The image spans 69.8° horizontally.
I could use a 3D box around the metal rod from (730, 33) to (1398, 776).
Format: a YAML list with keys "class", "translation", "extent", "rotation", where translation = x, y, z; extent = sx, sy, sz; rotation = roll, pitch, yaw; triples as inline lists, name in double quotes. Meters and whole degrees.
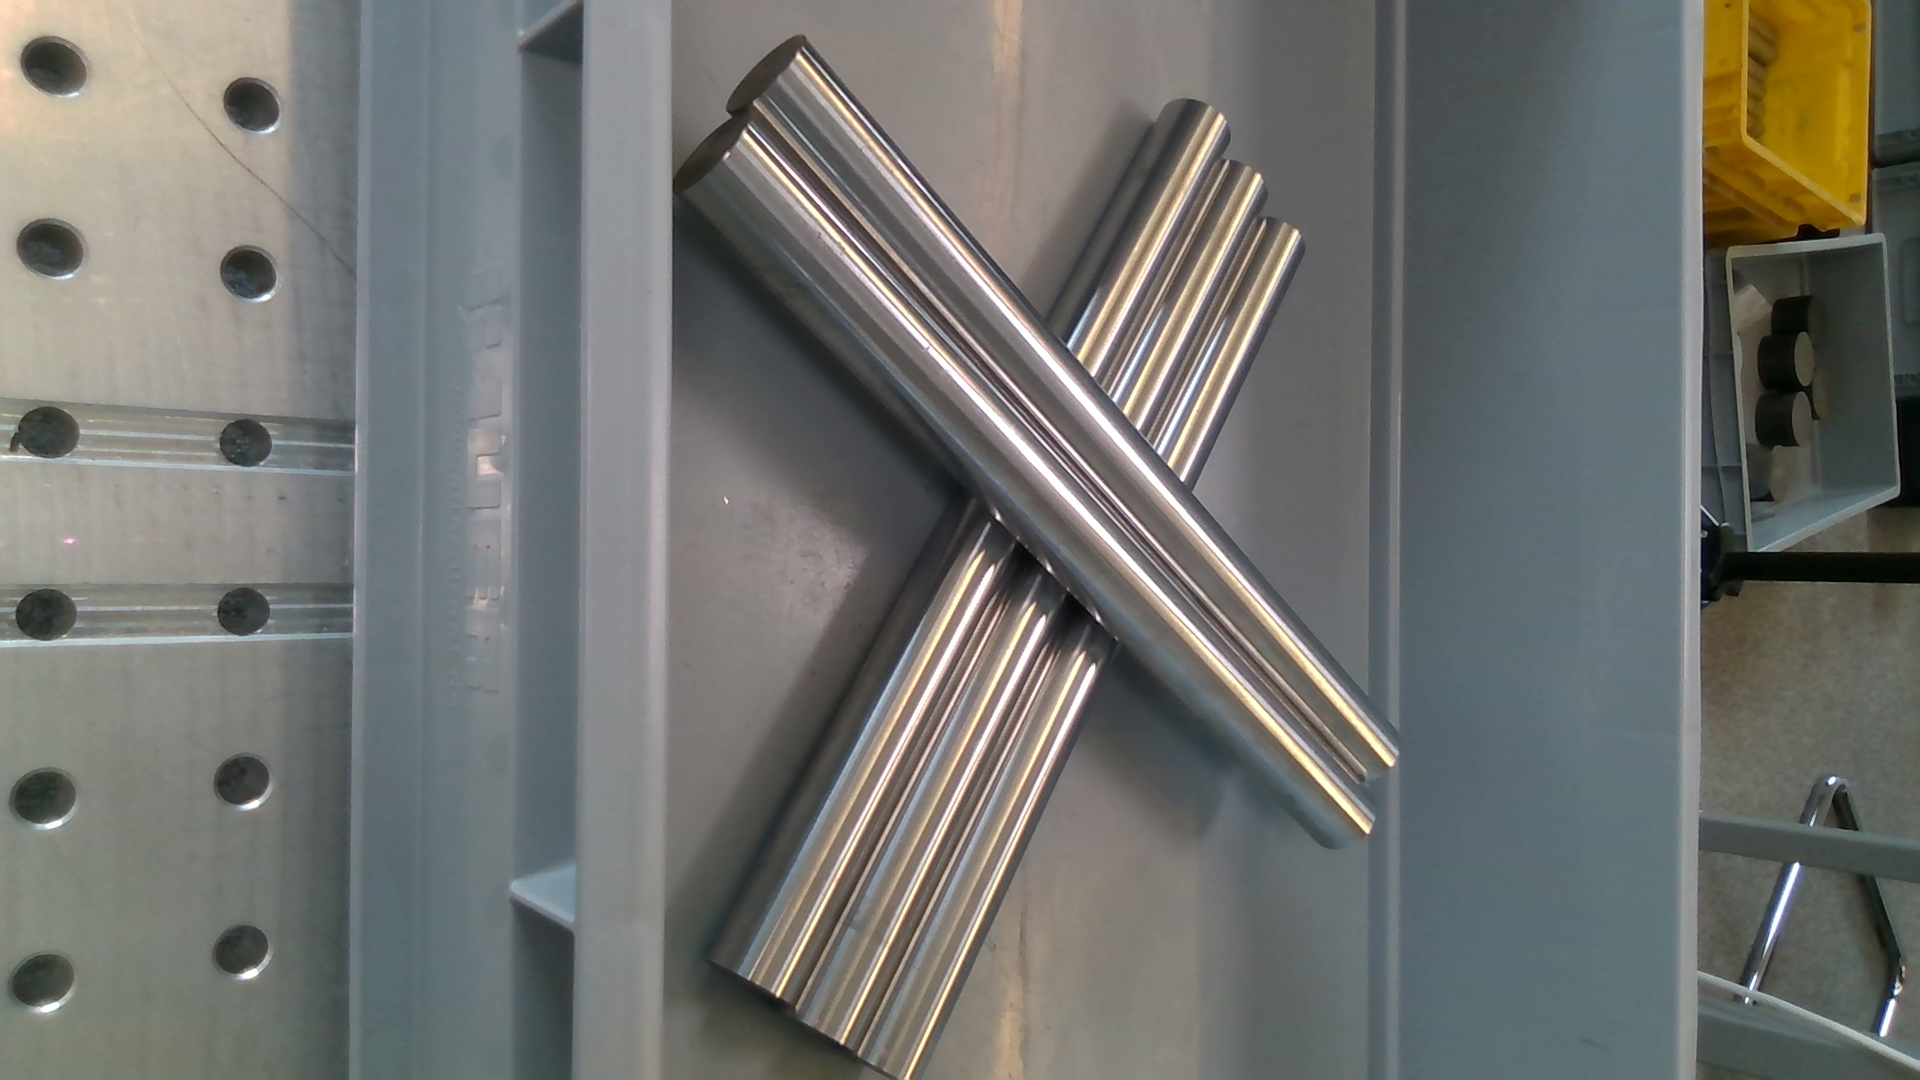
- class: "metal rod"
  translation: [0.047, -0.019, 0.397]
  extent: [0.301, 0.025, 0.025]
  rotation: [44, 63, -31]

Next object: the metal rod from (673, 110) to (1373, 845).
- class: "metal rod"
  translation: [0.036, 0.002, 0.388]
  extent: [0.301, 0.025, 0.025]
  rotation: [44, 63, -31]

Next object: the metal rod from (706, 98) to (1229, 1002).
- class: "metal rod"
  translation: [0.012, -0.013, 0.400]
  extent: [0.025, 0.025, 0.299]
  rotation: [42, 64, -32]

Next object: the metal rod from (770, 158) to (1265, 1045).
- class: "metal rod"
  translation: [0.027, 0.003, 0.412]
  extent: [0.025, 0.025, 0.299]
  rotation: [42, 64, -32]

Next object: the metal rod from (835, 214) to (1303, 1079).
- class: "metal rod"
  translation: [0.042, 0.018, 0.426]
  extent: [0.025, 0.025, 0.299]
  rotation: [42, 64, -32]
